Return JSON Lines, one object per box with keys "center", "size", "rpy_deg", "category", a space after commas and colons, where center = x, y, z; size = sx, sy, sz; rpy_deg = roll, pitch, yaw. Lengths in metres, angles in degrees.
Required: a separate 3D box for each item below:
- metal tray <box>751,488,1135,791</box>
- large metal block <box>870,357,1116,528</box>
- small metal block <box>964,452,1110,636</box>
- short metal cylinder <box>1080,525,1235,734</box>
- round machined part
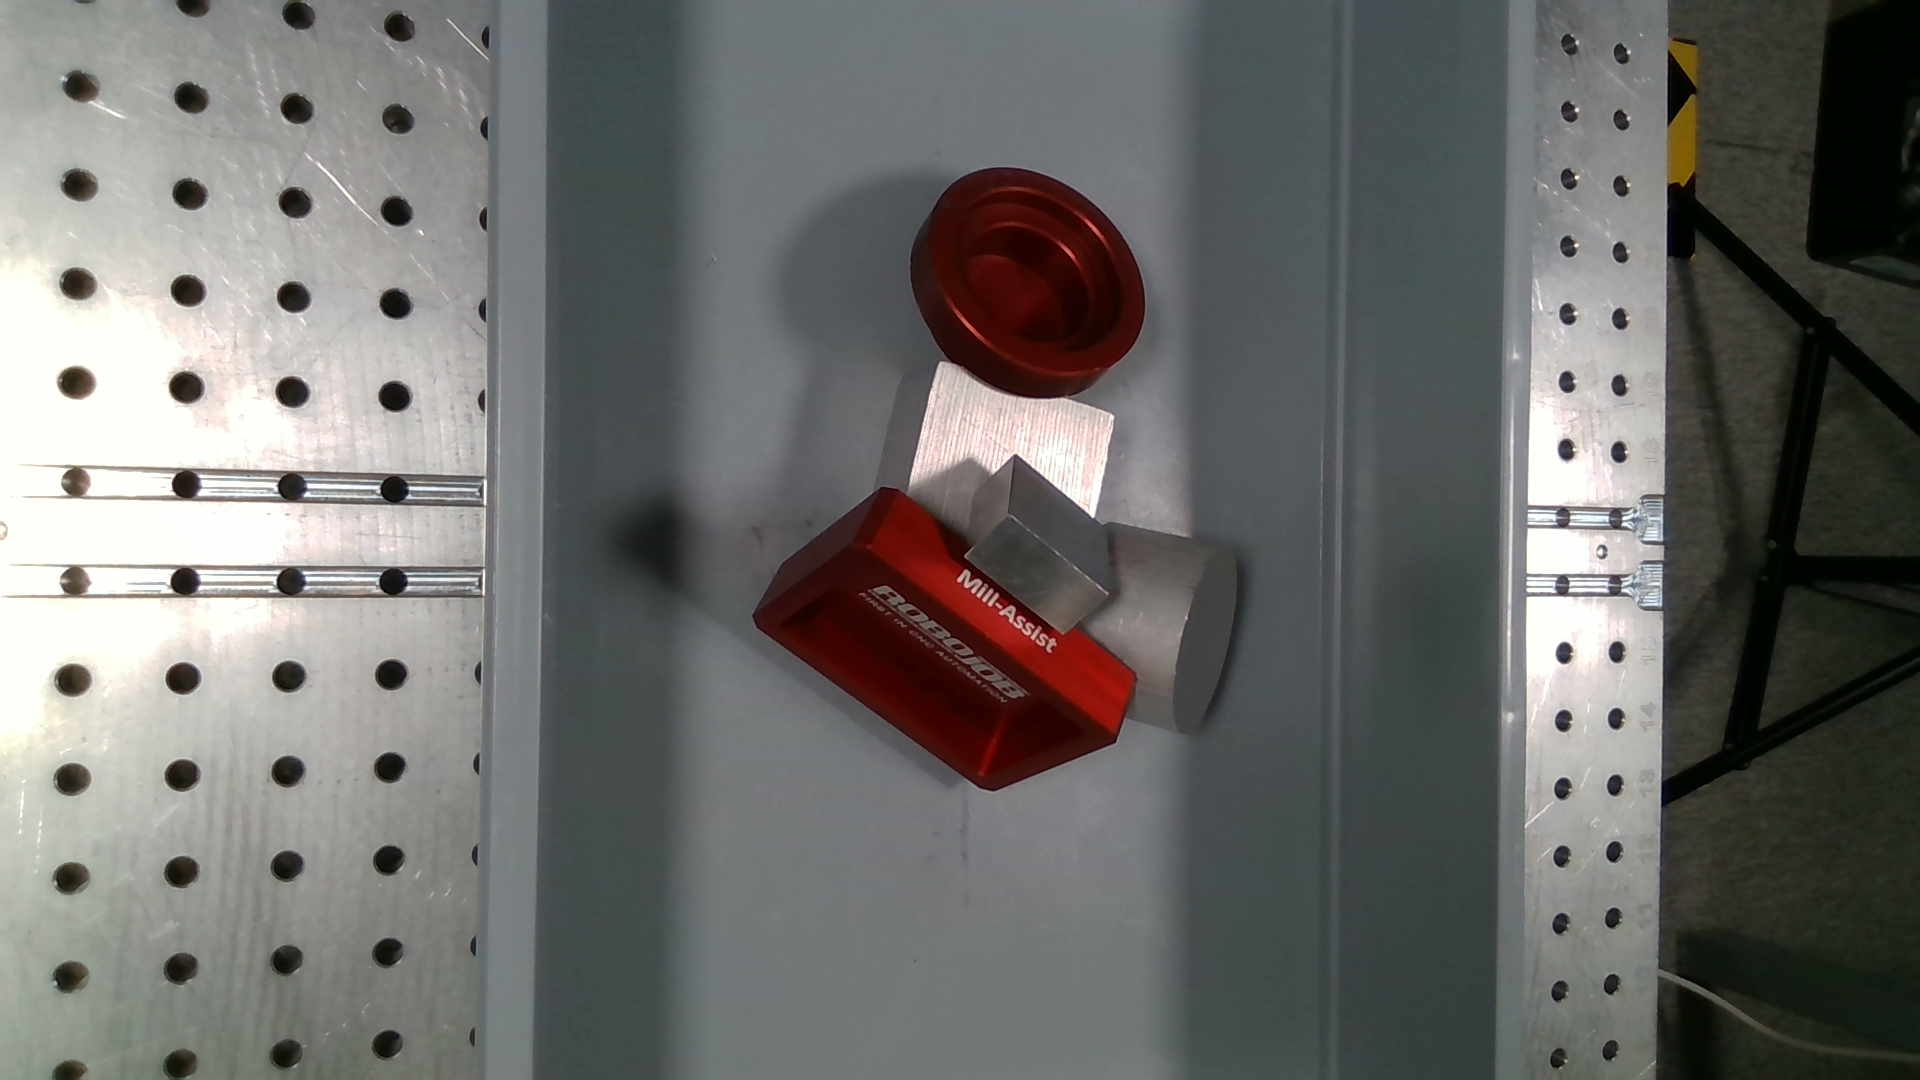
{"center": [-0.007, 0.044, 0.546], "size": [0.130, 0.090, 0.030], "rpy_deg": [38, 50, -17], "category": "metal tray"}
{"center": [0.010, -0.023, 0.575], "size": [0.080, 0.050, 0.080], "rpy_deg": [15, 85, -20], "category": "large metal block"}
{"center": [0.030, 0.001, 0.528], "size": [0.050, 0.050, 0.025], "rpy_deg": [39, 116, -16], "category": "small metal block"}
{"center": [0.080, 0.036, 0.578], "size": [0.050, 0.080, 0.080], "rpy_deg": [13, 84, 25], "category": "short metal cylinder"}
{"center": [0.024, -0.102, 0.572], "size": [0.098, 0.042, 0.098], "rpy_deg": [10, 63, -21], "category": "round machined part"}
